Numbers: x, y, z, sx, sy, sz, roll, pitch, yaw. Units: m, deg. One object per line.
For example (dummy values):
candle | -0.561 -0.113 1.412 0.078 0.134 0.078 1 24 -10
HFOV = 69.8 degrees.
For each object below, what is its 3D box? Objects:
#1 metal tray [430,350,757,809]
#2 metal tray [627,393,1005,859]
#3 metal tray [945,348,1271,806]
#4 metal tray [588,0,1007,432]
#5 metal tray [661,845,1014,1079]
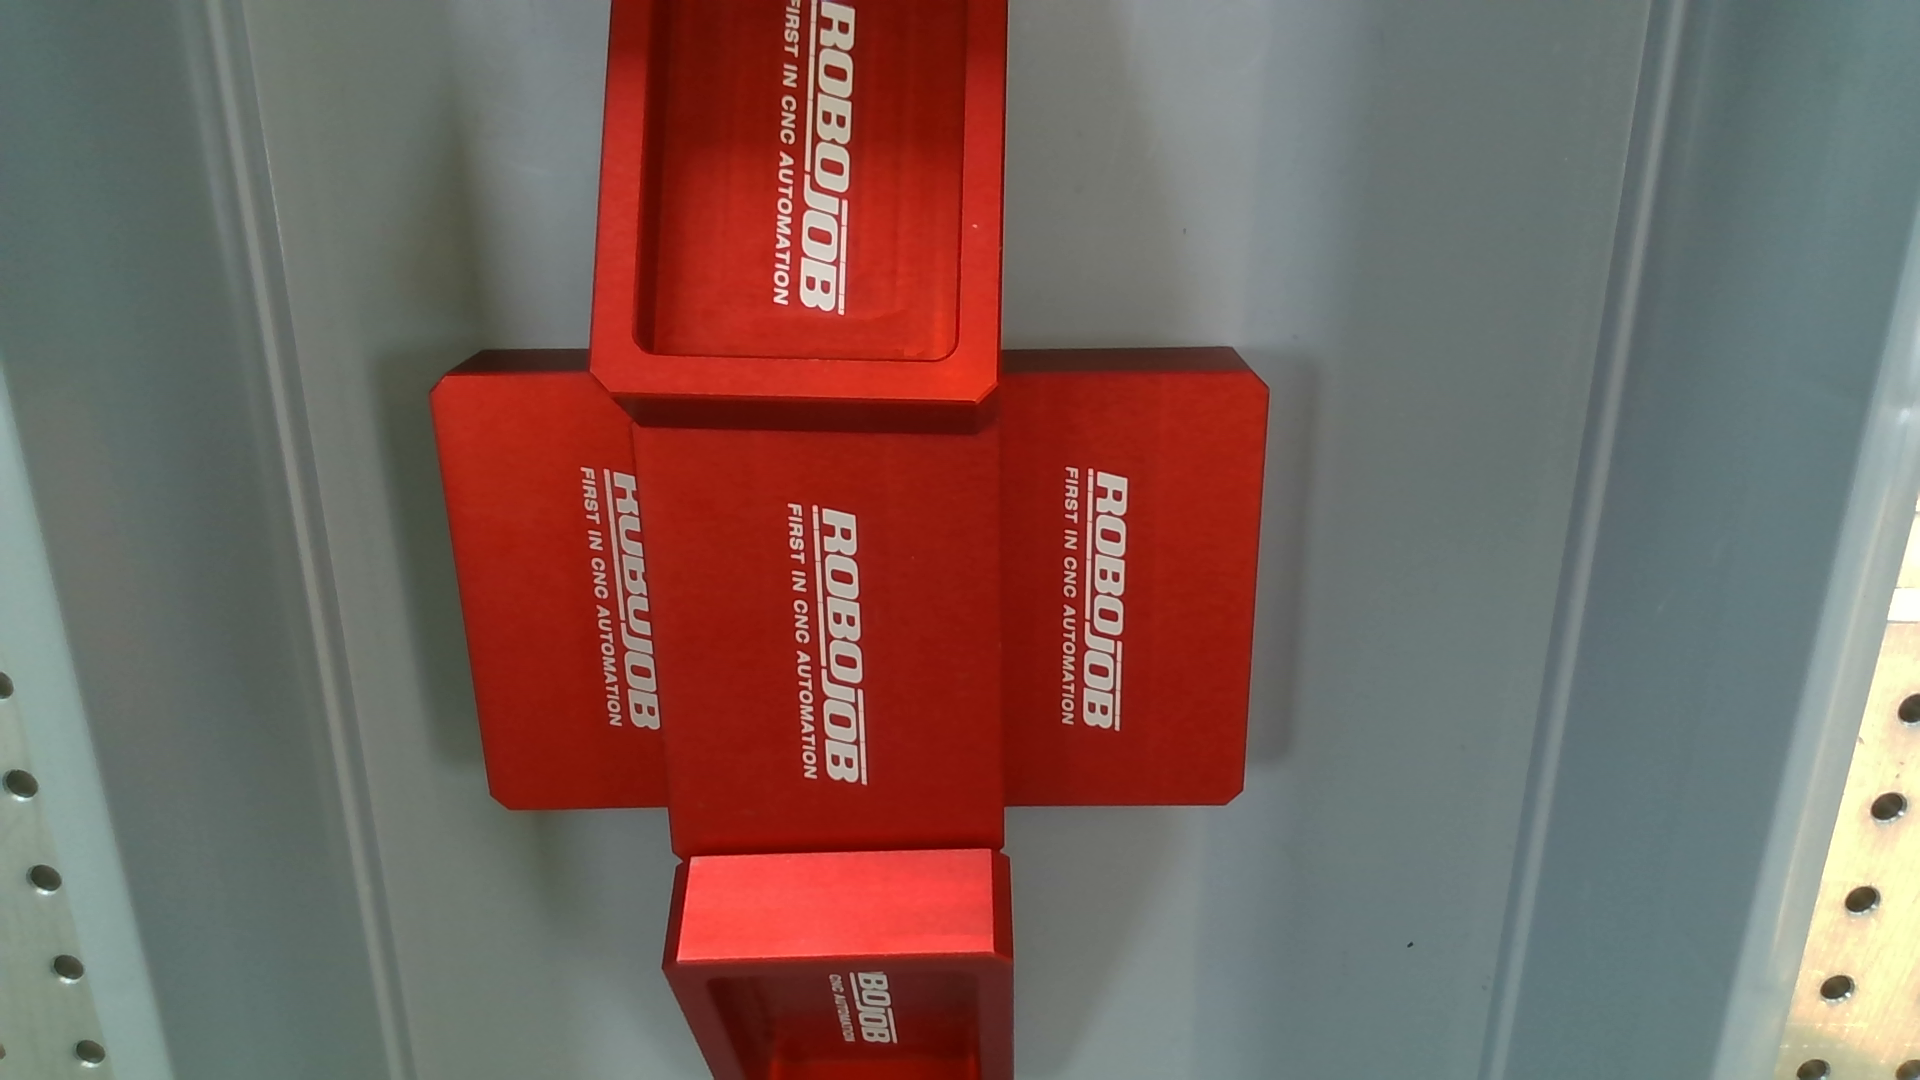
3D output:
metal tray | -0.093 0.013 0.393 0.090 0.030 0.130 -1 110 0
metal tray | -0.034 0.022 0.366 0.090 0.030 0.130 -1 110 0
metal tray | 0.037 0.012 0.393 0.090 0.030 0.130 -1 110 0
metal tray | -0.035 -0.093 0.323 0.090 0.030 0.130 1 81 1
metal tray | -0.030 0.135 0.406 0.090 0.030 0.130 -2 139 1
